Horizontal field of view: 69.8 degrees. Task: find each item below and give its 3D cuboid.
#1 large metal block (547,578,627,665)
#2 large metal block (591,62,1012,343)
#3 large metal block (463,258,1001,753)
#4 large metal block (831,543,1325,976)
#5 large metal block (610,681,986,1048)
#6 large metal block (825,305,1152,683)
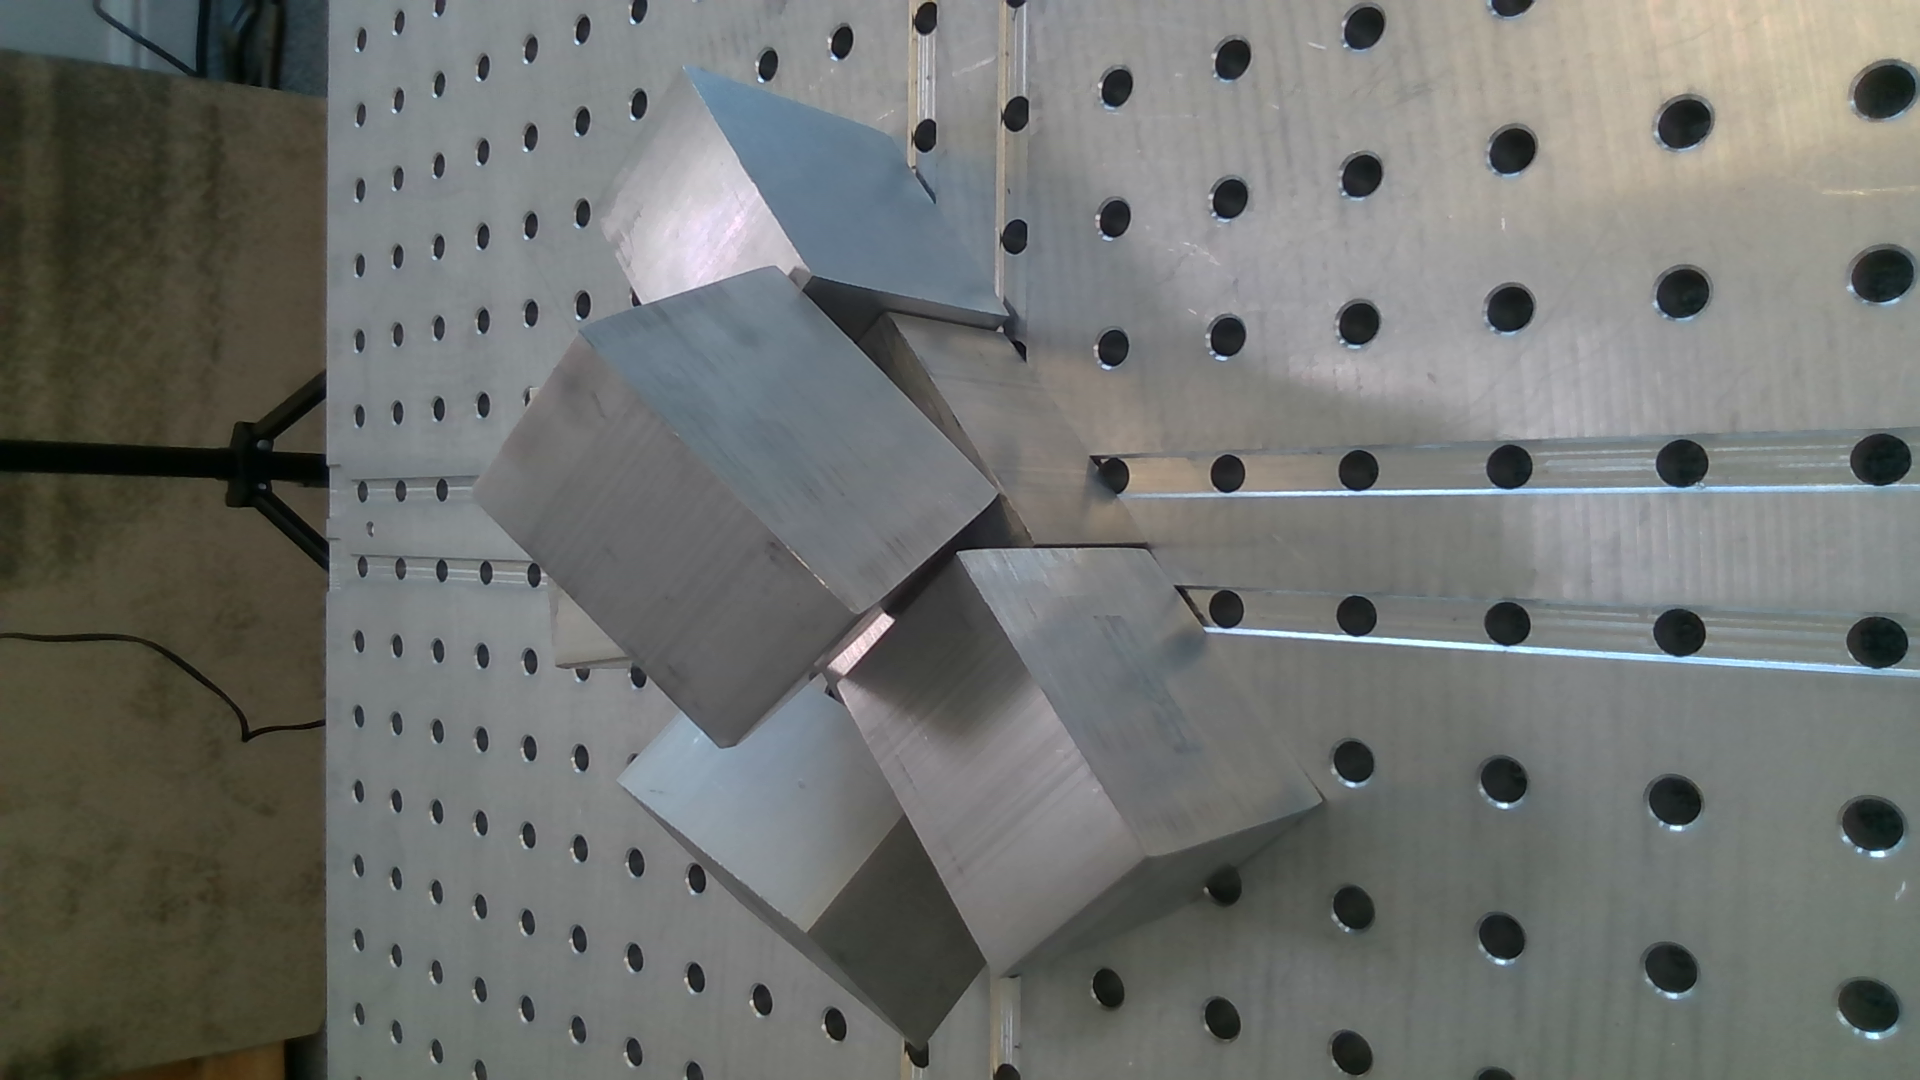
[{"bbox_3d":[-0.090,-0.004,0.424,0.050,0.080,0.080,-7,84,3],"label":"large metal block"},{"bbox_3d":[-0.045,-0.080,0.393,0.050,0.080,0.080,-46,63,31],"label":"large metal block"},{"bbox_3d":[-0.048,-0.012,0.316,0.080,0.080,0.050,46,121,1],"label":"large metal block"},{"bbox_3d":[0.029,0.048,0.333,0.050,0.080,0.080,-47,62,30],"label":"large metal block"},{"bbox_3d":[-0.036,0.083,0.380,0.080,0.080,0.050,26,65,37],"label":"large metal block"},{"bbox_3d":[-0.008,-0.006,0.385,0.080,0.050,0.080,-47,62,30],"label":"large metal block"}]
